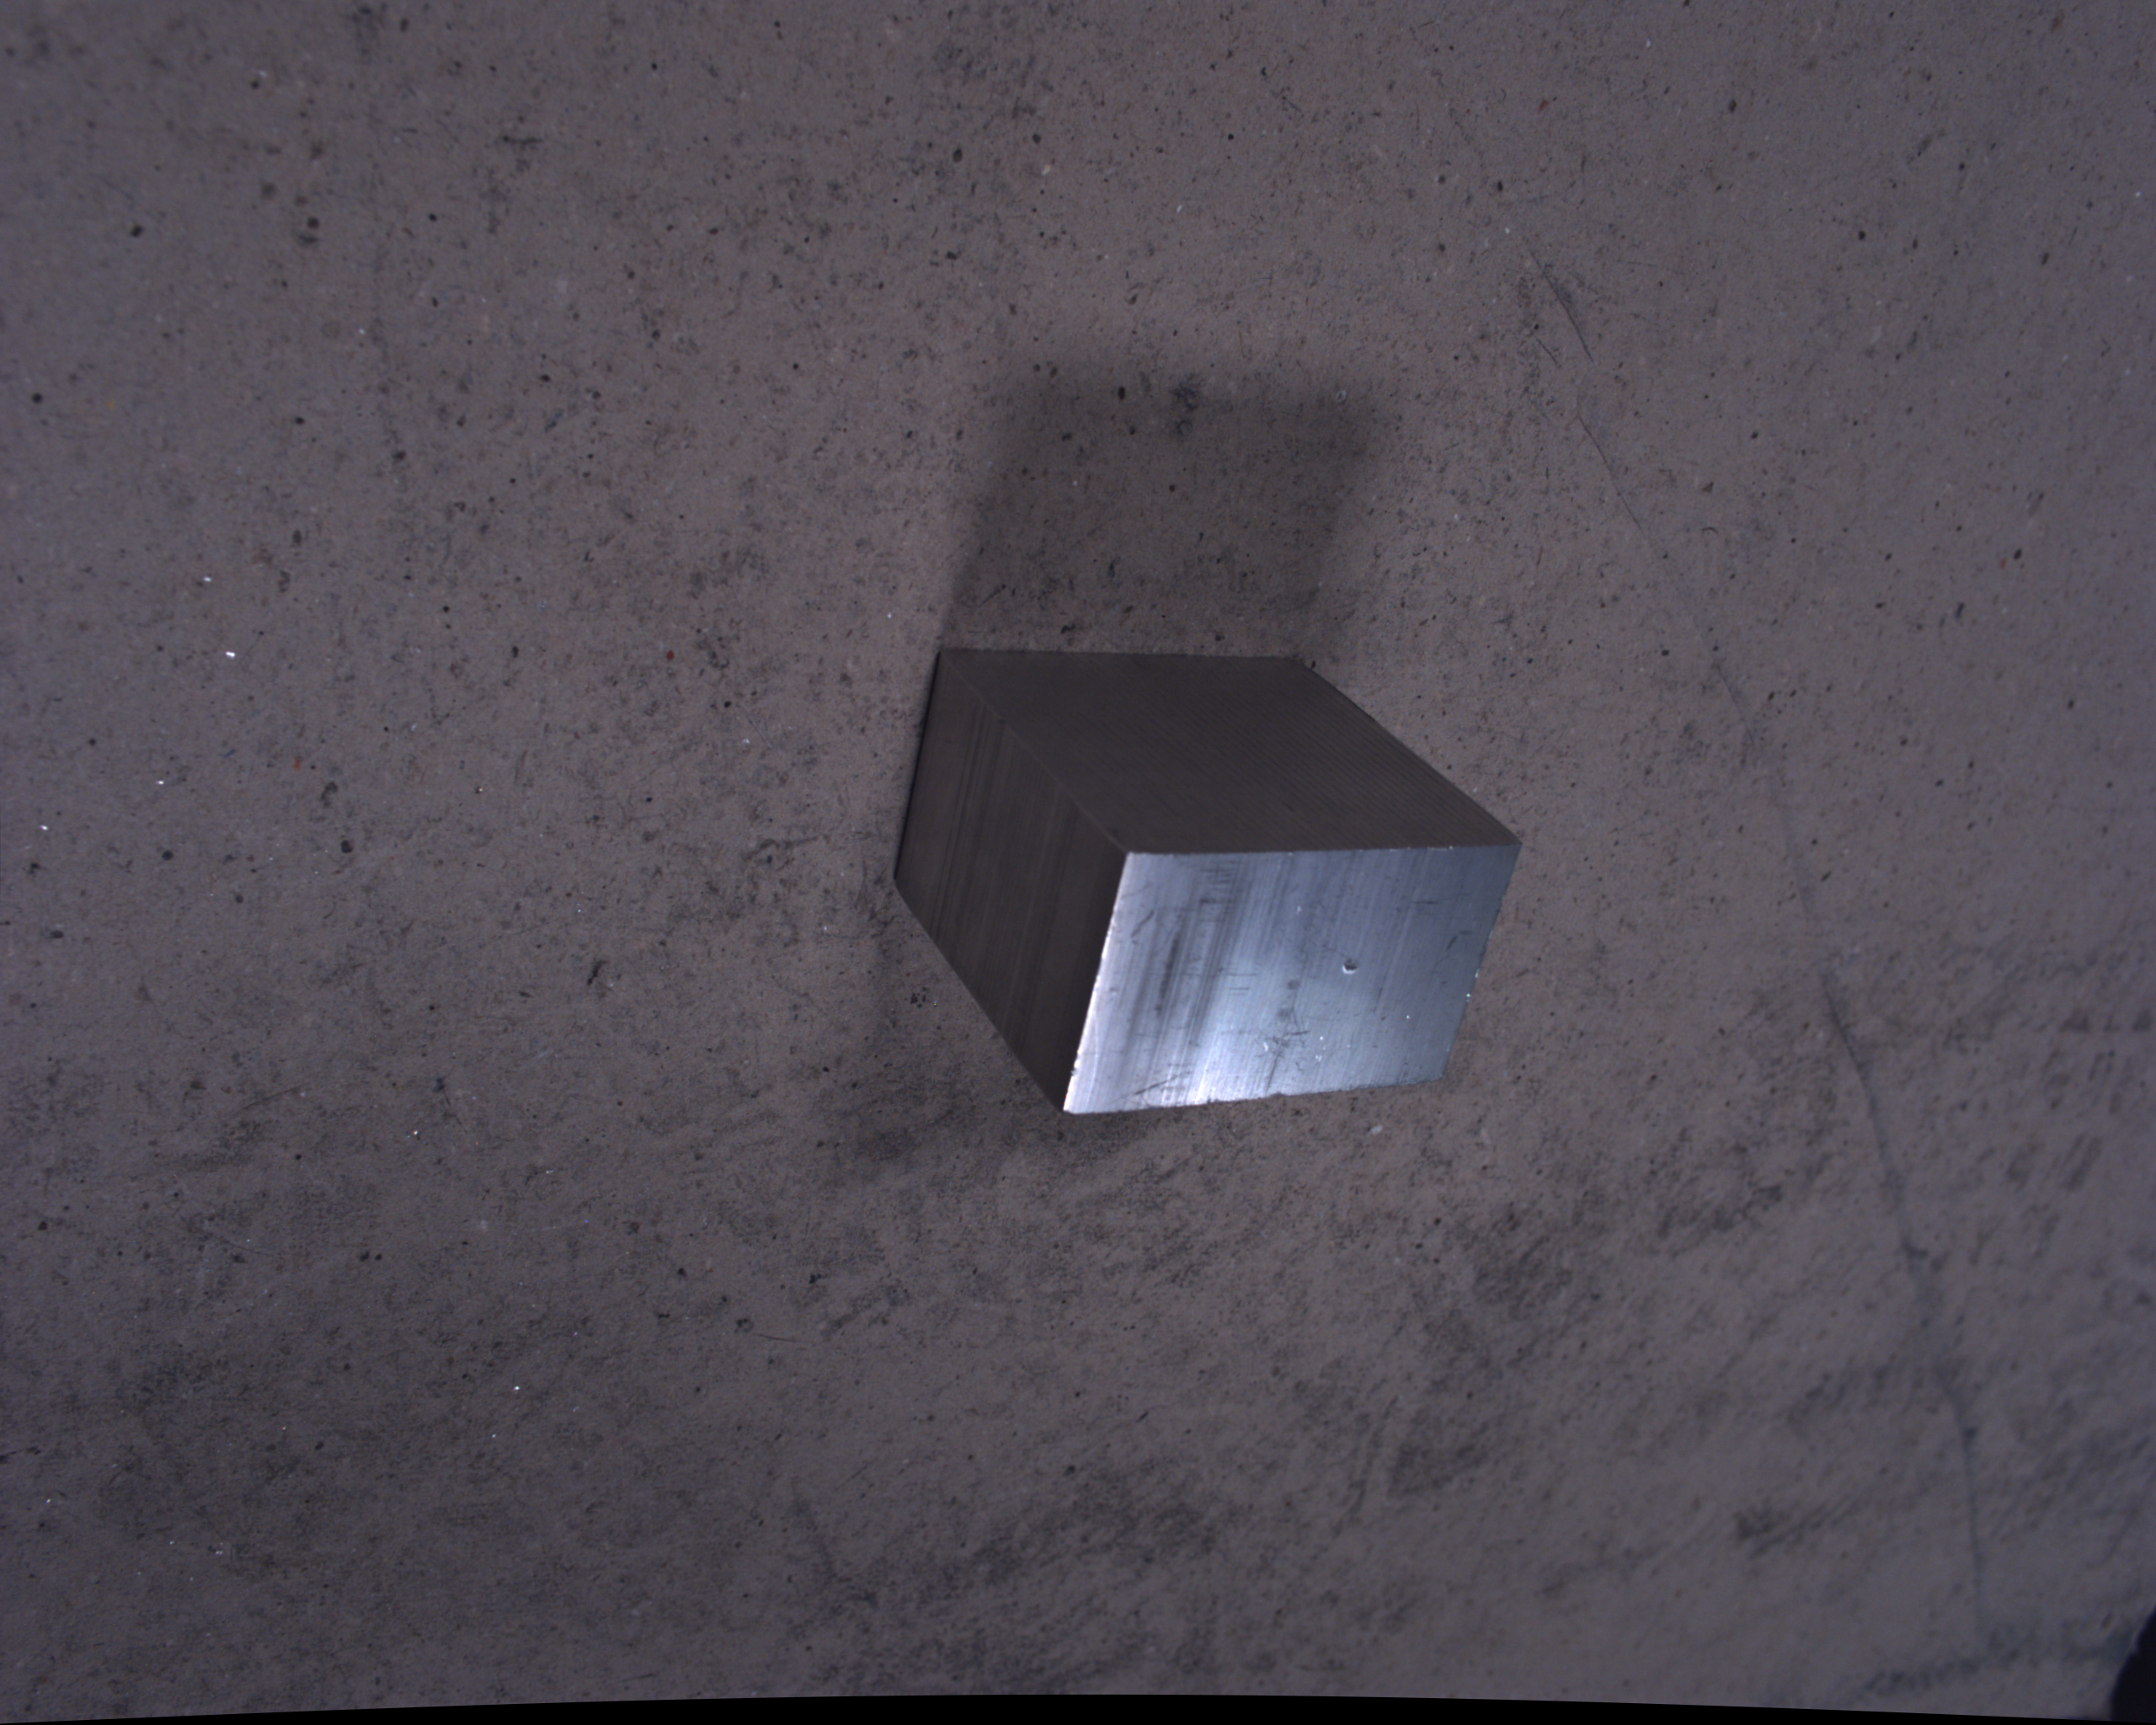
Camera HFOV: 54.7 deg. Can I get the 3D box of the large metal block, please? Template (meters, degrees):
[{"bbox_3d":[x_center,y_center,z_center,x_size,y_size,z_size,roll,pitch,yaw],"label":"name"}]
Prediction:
[{"bbox_3d":[0.021,0.000,0.386,0.081,0.080,0.050,-1,119,-28],"label":"large metal block"}]
